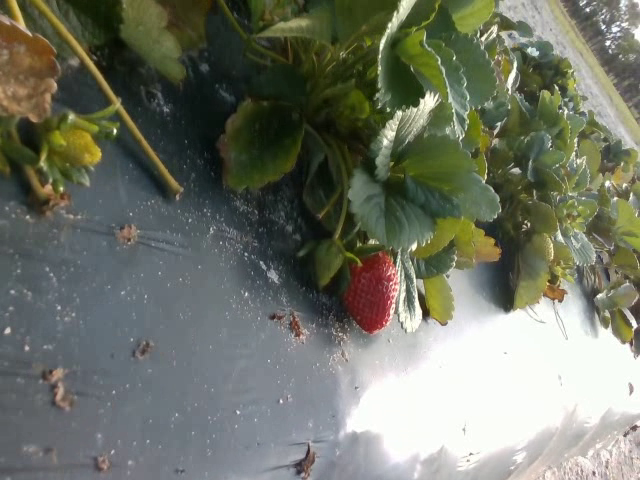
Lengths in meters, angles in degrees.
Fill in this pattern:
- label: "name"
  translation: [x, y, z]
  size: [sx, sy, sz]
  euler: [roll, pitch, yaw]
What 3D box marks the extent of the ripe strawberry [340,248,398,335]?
- label: "ripe strawberry"
  translation: [0.020, 0.022, 0.224]
  size: [0.029, 0.036, 0.021]
  euler: [14, -27, -43]
